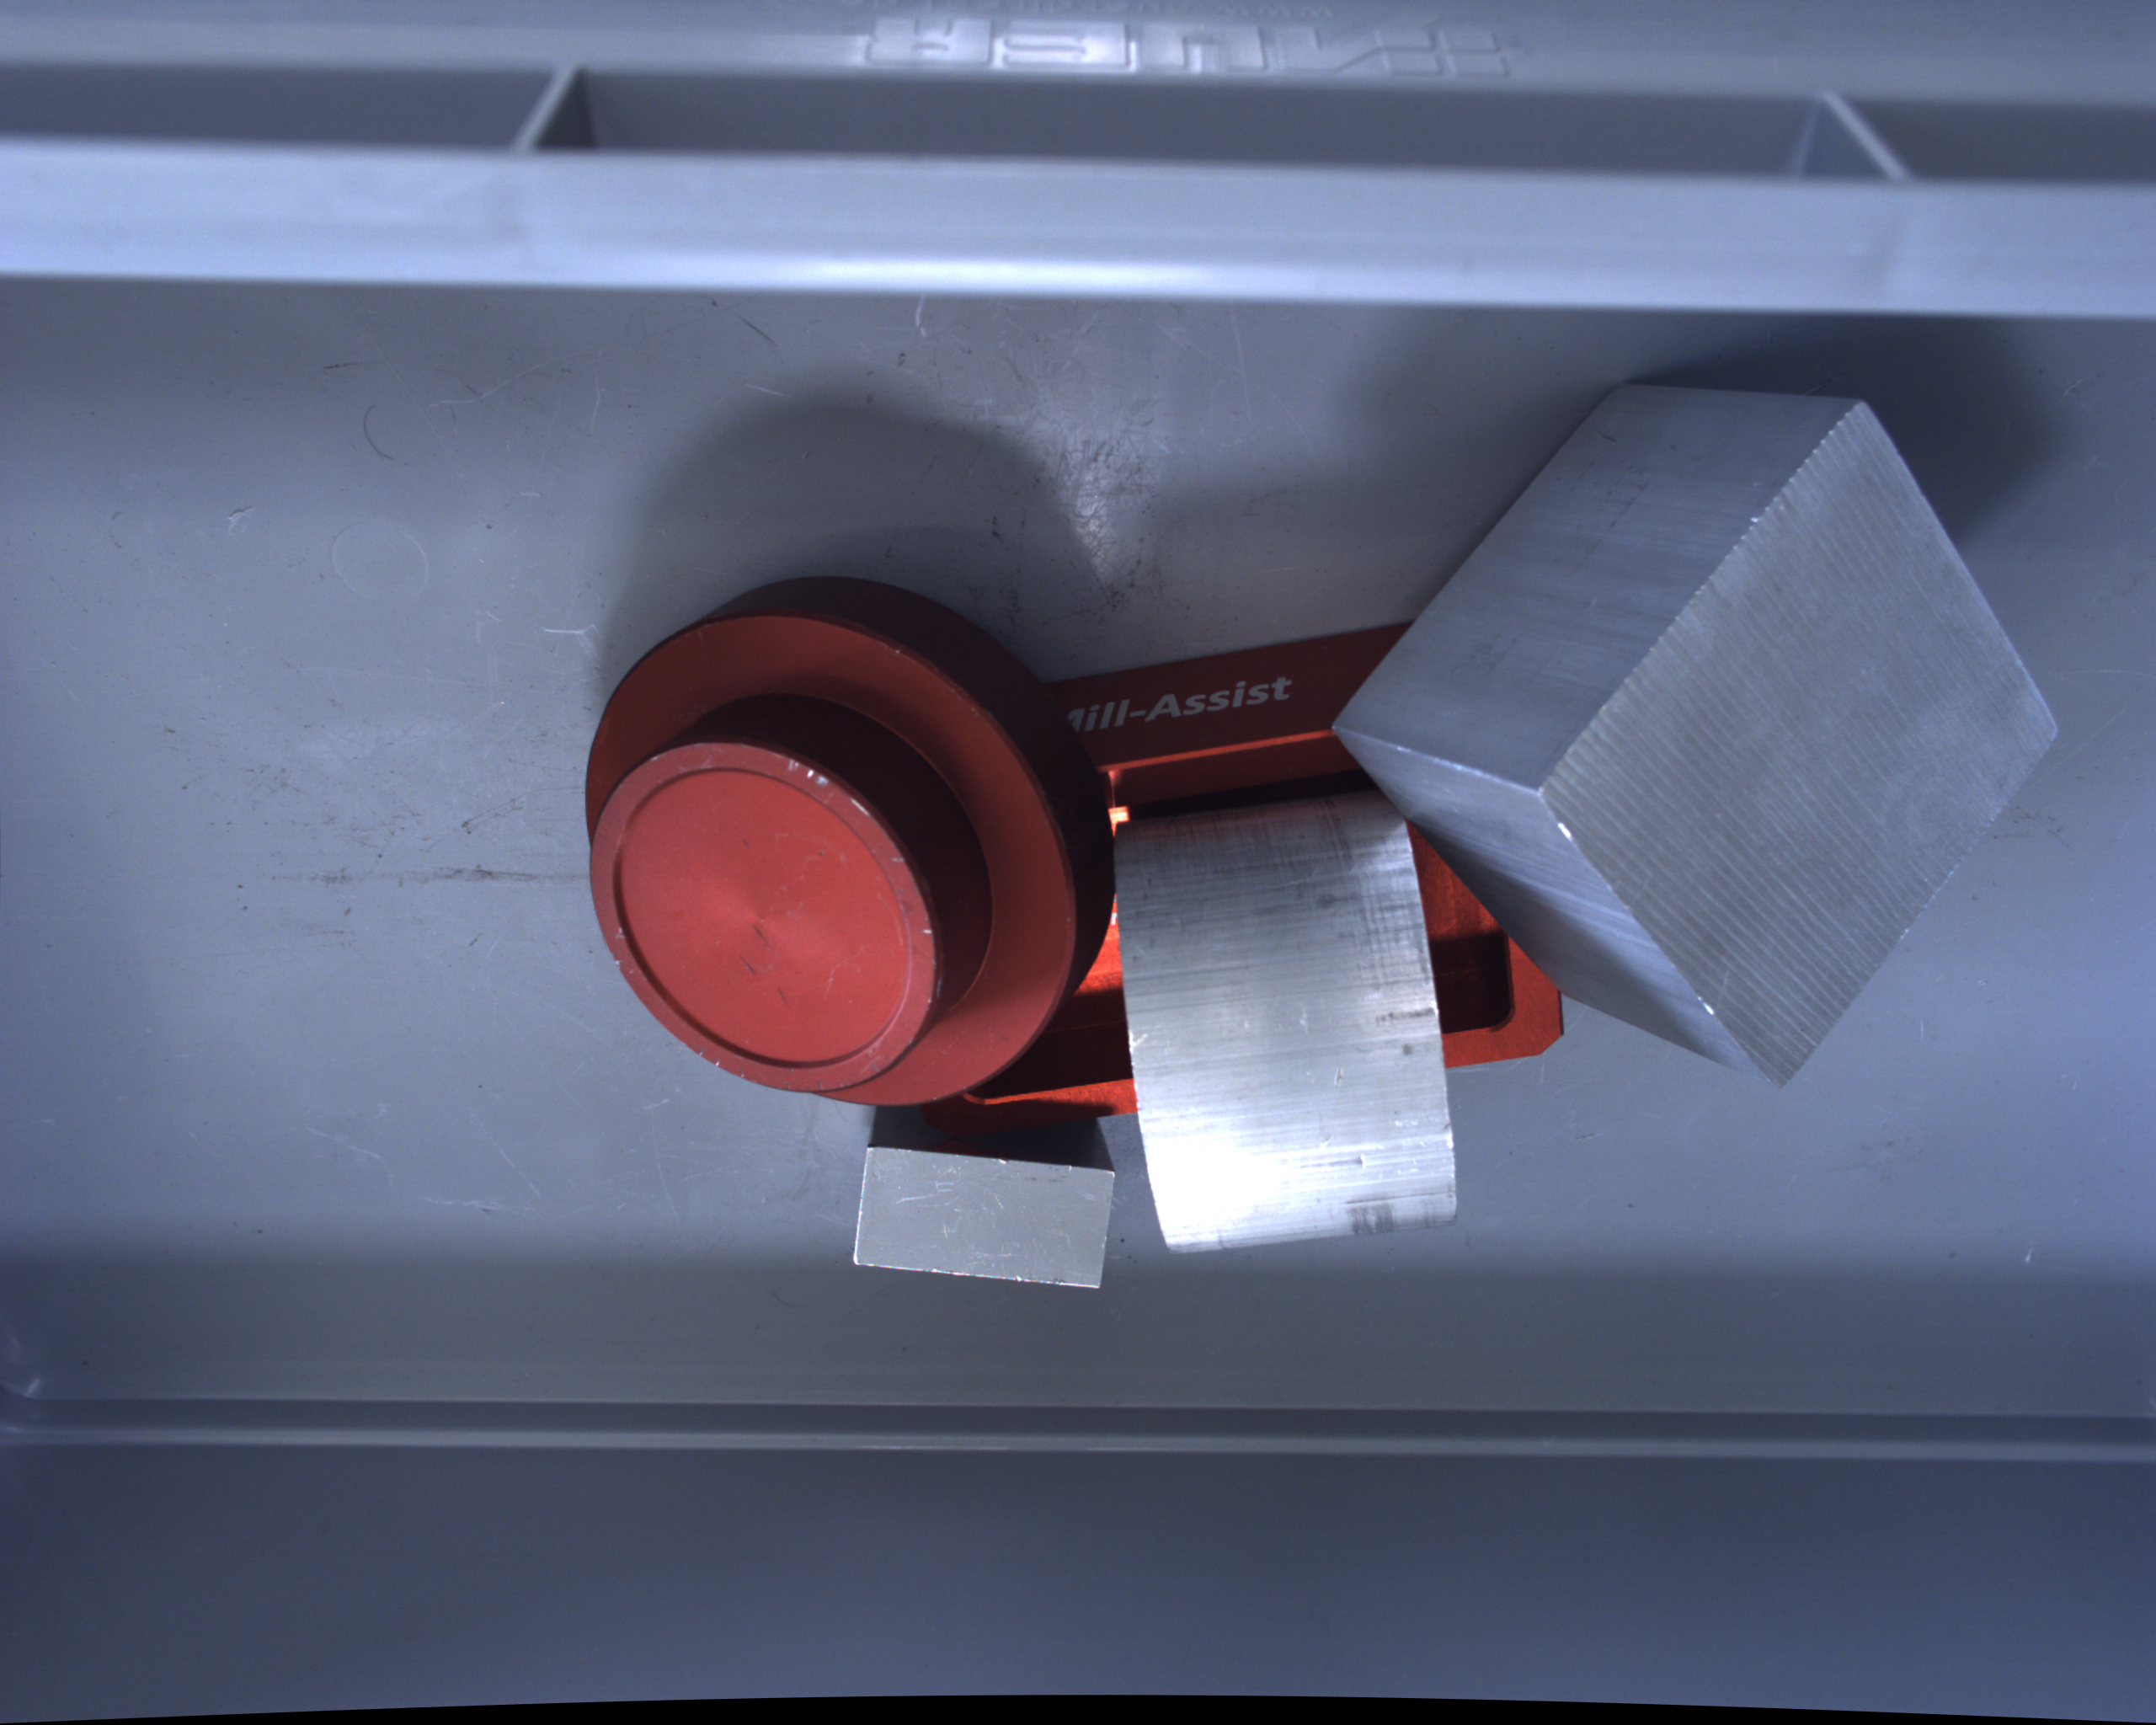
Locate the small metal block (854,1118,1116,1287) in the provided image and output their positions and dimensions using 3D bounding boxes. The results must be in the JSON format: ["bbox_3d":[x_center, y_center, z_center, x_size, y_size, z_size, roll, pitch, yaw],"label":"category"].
[{"bbox_3d":[-0.020,0.069,0.446,0.050,0.050,0.025,6,96,-5],"label":"small metal block"}]

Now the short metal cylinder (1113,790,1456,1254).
[{"bbox_3d":[0.037,0.029,0.379,0.050,0.080,0.080,-7,130,5],"label":"short metal cylinder"}]

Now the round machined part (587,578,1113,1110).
[{"bbox_3d":[-0.047,0.002,0.372,0.098,0.042,0.097,10,117,20],"label":"round machined part"}]

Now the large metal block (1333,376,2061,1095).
[{"bbox_3d":[0.104,-0.022,0.347,0.080,0.050,0.080,-51,121,-8],"label":"large metal block"}]

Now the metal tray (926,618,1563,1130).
[{"bbox_3d":[0.025,0.004,0.409,0.131,0.030,0.090,-9,130,7],"label":"metal tray"}]
